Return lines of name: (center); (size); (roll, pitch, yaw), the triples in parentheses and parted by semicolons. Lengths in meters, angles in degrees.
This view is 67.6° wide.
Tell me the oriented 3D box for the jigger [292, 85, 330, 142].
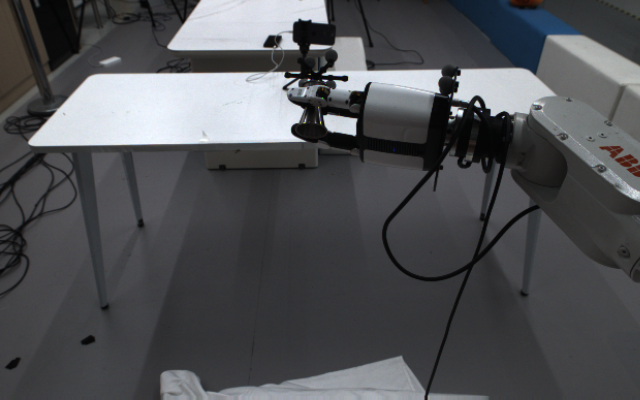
jigger: (-0.011, -0.125, 0.662); (0.043, 0.043, 0.071); (4, 71, 3)
